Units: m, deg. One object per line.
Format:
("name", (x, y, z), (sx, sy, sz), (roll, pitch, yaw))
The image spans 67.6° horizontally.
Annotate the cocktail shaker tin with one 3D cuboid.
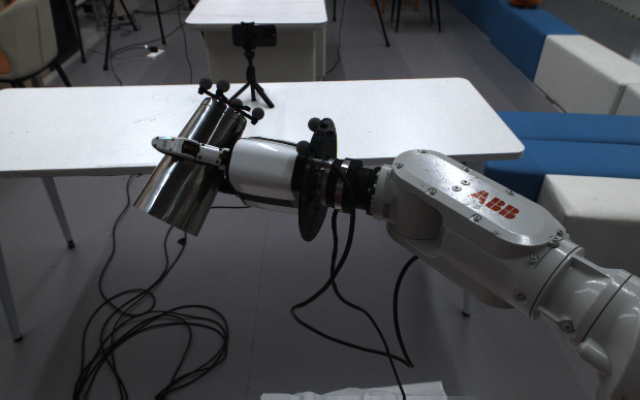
("cocktail shaker tin", (-0.165, -0.050, 0.647), (0.093, 0.093, 0.170), (21, 81, 26))
